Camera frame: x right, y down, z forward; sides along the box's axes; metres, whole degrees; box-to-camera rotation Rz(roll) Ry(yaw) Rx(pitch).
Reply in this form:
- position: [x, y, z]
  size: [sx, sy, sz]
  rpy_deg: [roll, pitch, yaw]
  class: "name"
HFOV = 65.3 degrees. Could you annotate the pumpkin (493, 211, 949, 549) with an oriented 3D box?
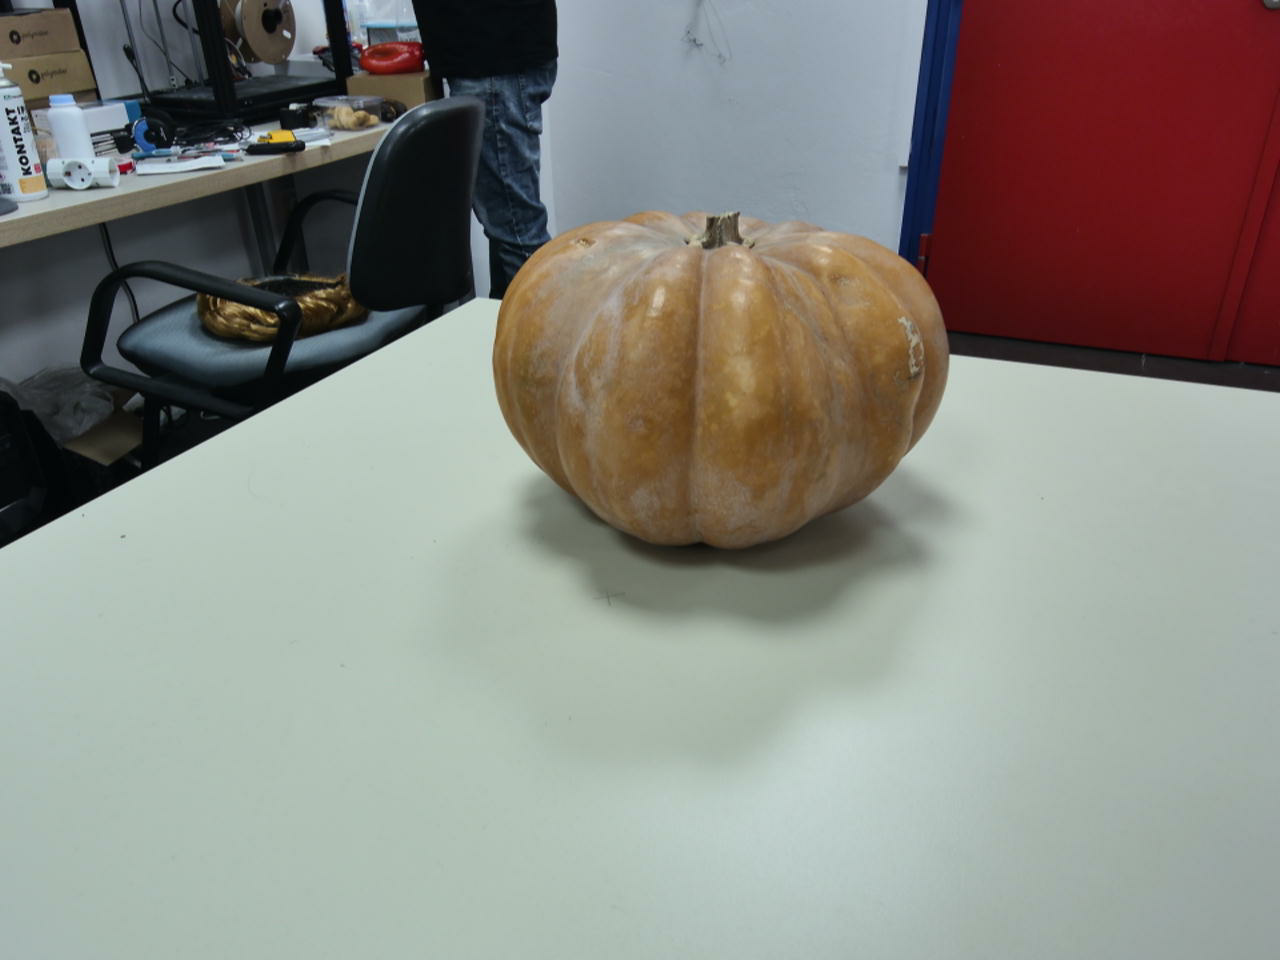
- position: [0.042, -0.070, 0.606]
  size: [0.277, 0.181, 0.277]
  rpy_deg: [0, 26, 0]
  class: "pumpkin"
